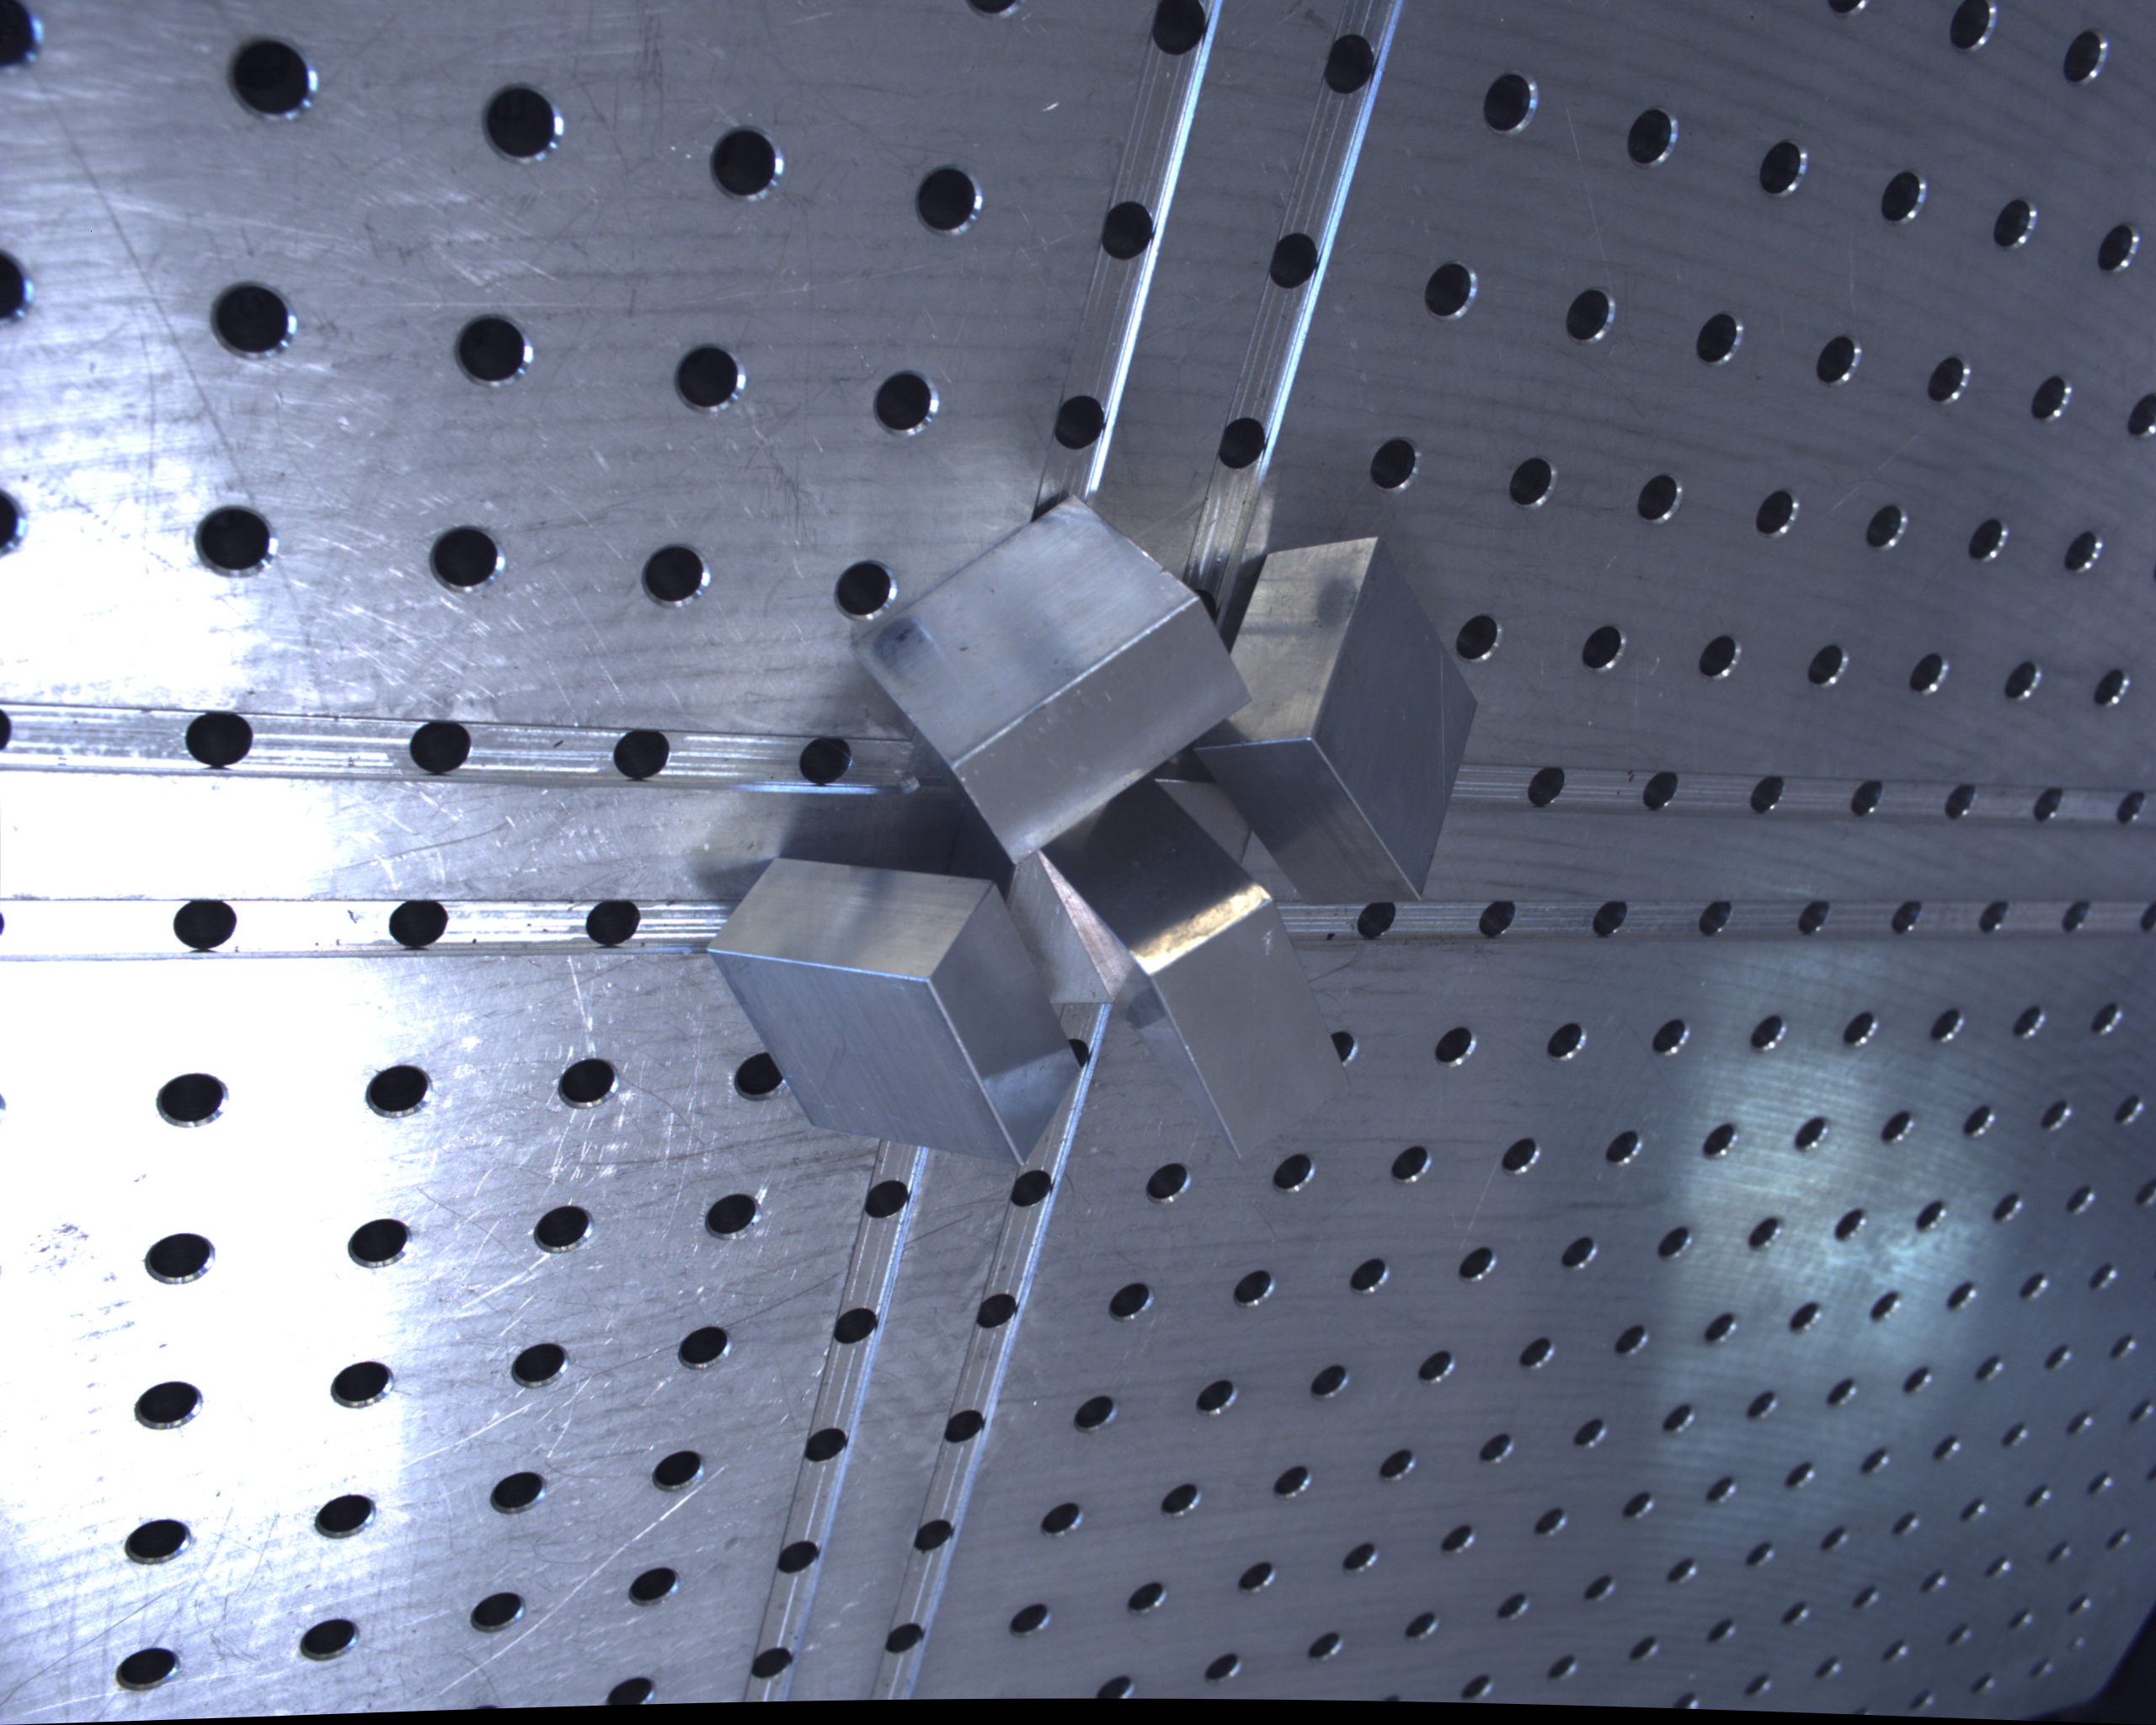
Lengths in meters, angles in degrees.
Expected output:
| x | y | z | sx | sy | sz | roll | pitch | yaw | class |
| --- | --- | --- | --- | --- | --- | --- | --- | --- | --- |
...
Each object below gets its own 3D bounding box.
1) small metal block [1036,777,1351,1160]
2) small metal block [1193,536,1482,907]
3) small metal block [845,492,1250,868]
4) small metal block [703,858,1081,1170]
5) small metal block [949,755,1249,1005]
| x | y | z | sx | sy | sz | roll | pitch | yaw | class |
| --- | --- | --- | --- | --- | --- | --- | --- | --- | --- |
| 0.020 | 0.018 | 0.384 | 0.025 | 0.050 | 0.050 | -32 | 129 | -8 | small metal block |
| 0.052 | -0.026 | 0.405 | 0.050 | 0.025 | 0.050 | 50 | 49 | -39 | small metal block |
| -0.006 | -0.034 | 0.370 | 0.050 | 0.050 | 0.025 | -35 | 129 | -5 | small metal block |
| -0.034 | 0.028 | 0.389 | 0.025 | 0.050 | 0.050 | -58 | 140 | -37 | small metal block |
| 0.004 | 0.000 | 0.412 | 0.050 | 0.025 | 0.050 | 0 | 118 | -30 | small metal block |
